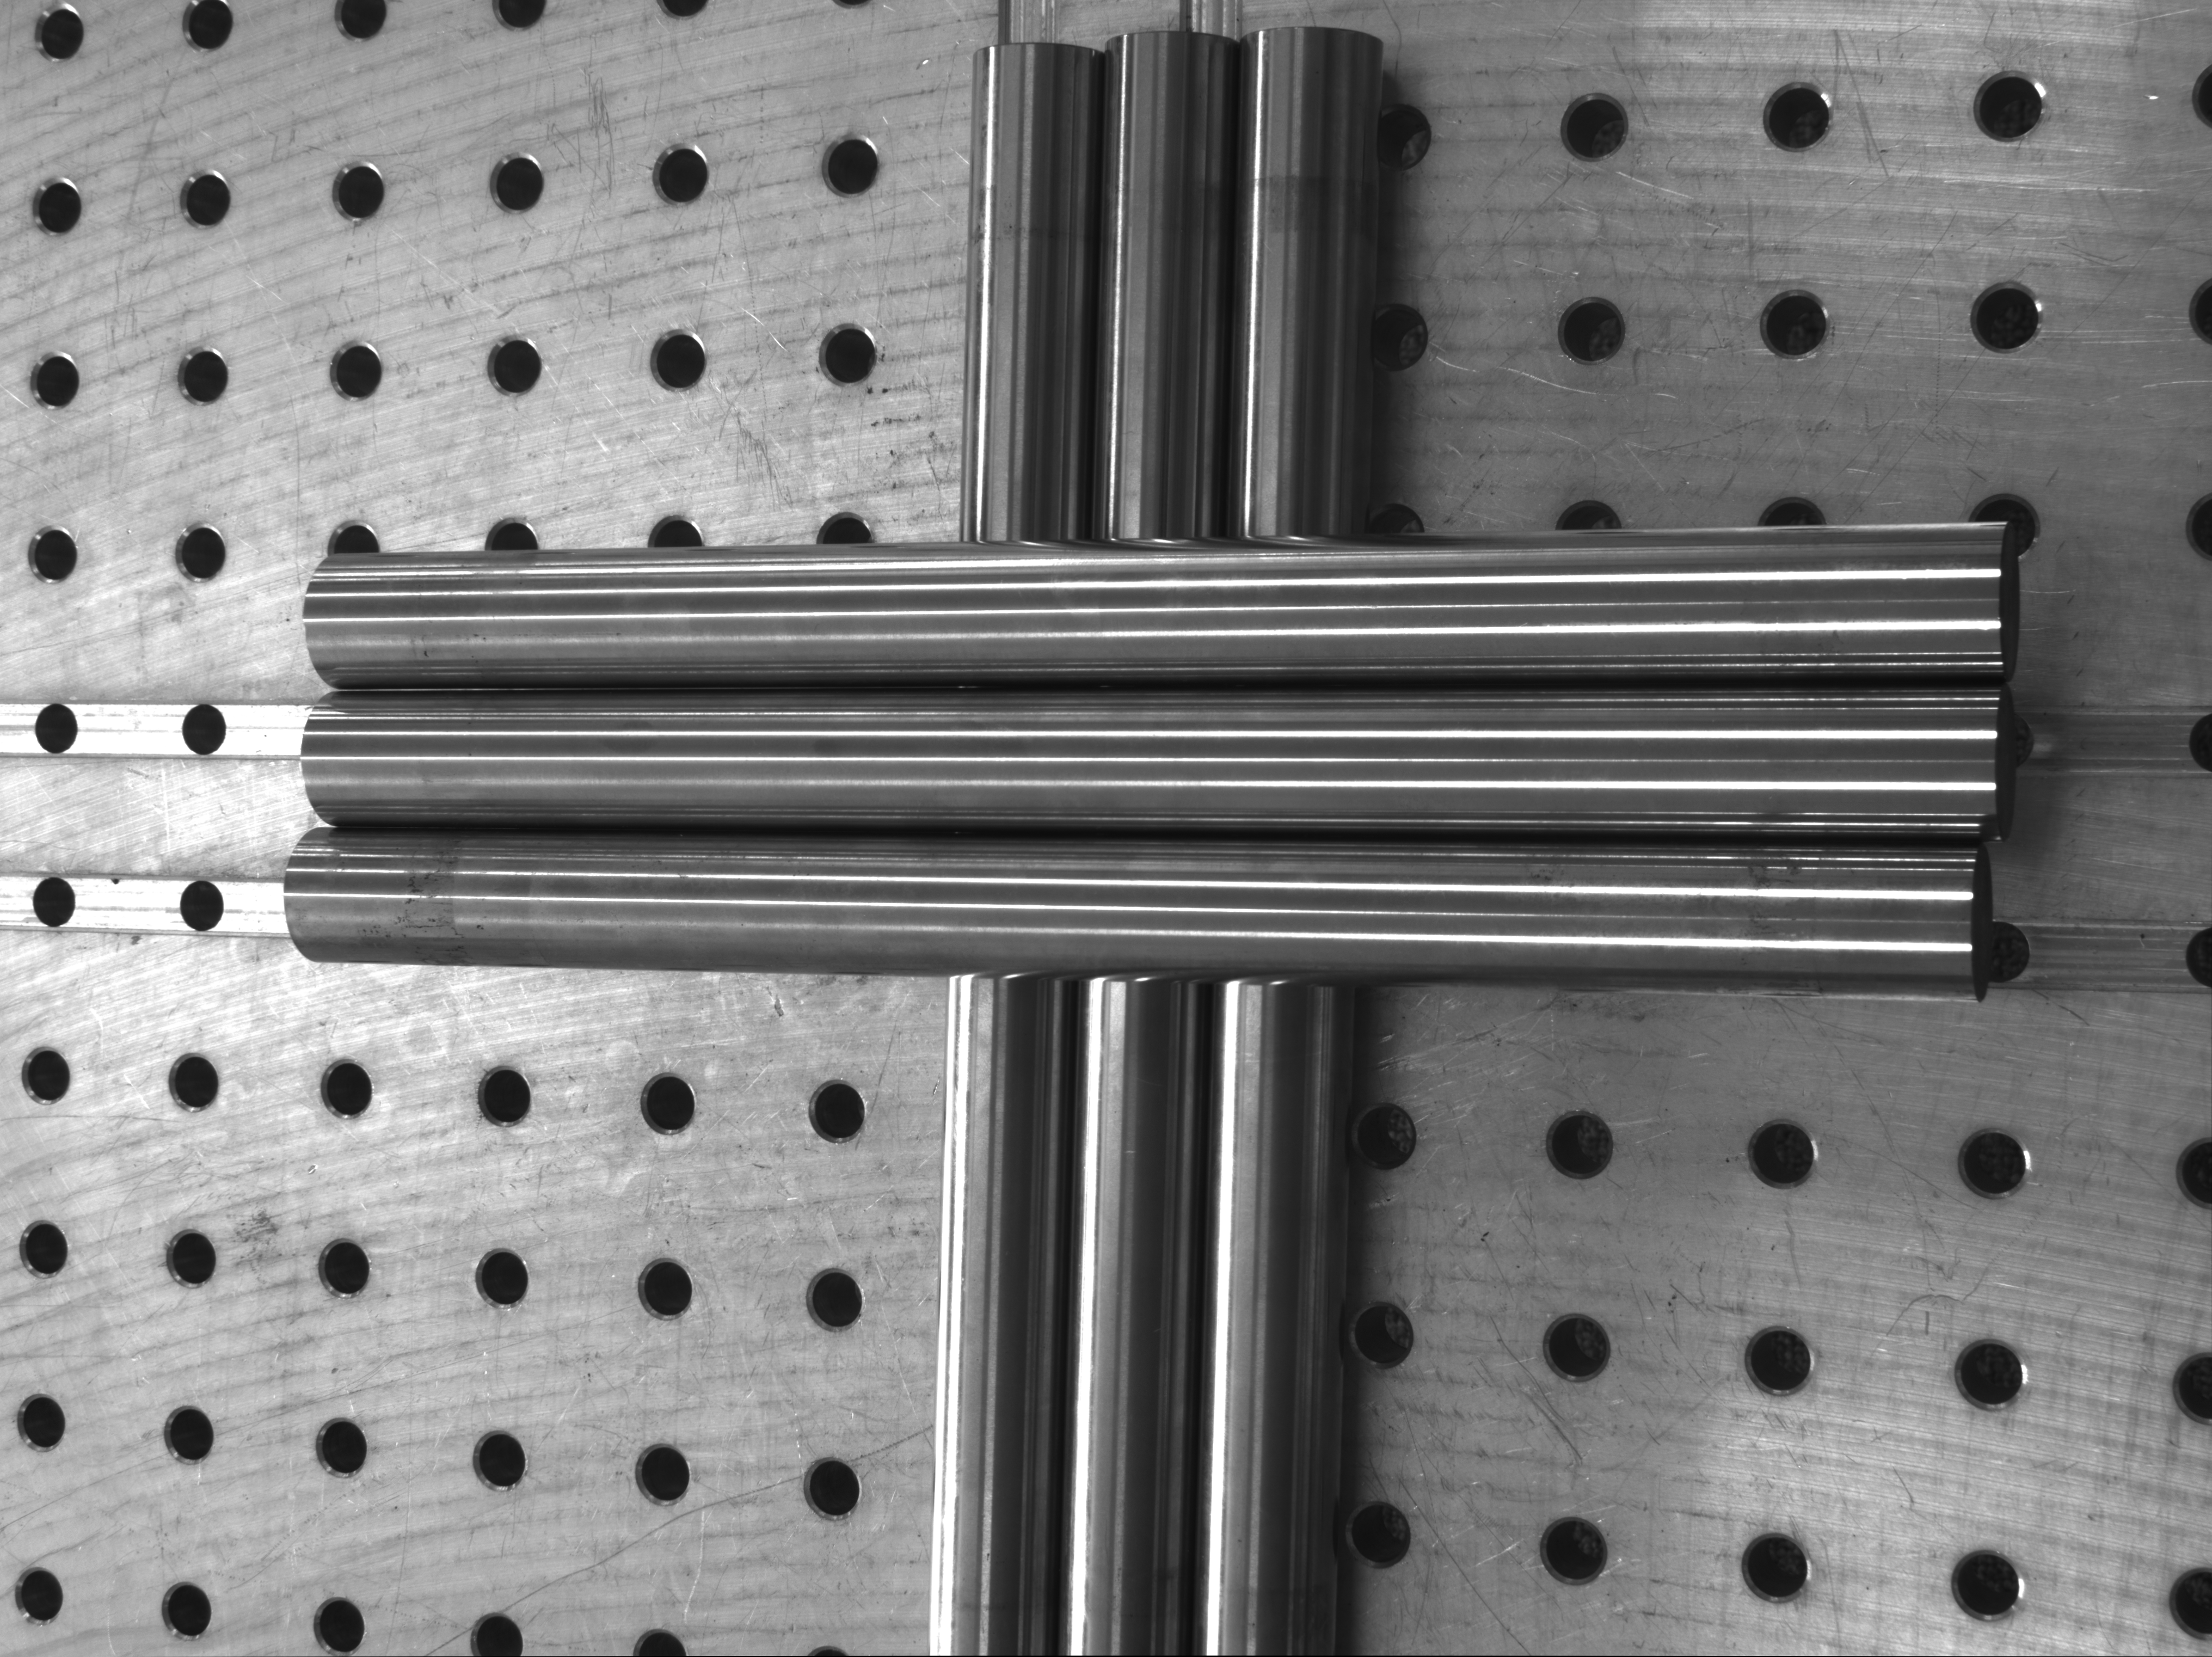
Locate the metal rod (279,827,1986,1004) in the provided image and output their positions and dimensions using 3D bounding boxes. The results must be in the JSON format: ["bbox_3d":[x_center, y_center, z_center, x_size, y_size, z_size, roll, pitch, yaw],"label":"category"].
[{"bbox_3d":[-0.005,0.014,0.624,0.299,0.025,0.025,1,90,20],"label":"metal rod"}]

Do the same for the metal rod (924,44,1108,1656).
[{"bbox_3d":[-0.016,0.013,0.655,0.025,0.025,0.300,2,91,20],"label":"metal rod"}]

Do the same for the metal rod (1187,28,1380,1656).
[{"bbox_3d":[0.031,0.014,0.638,0.025,0.025,0.300,2,91,20],"label":"metal rod"}]

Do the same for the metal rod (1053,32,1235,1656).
[{"bbox_3d":[0.007,0.013,0.647,0.025,0.025,0.300,2,91,20],"label":"metal rod"}]

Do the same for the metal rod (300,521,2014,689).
[{"bbox_3d":[0.000,-0.037,0.623,0.299,0.025,0.025,1,90,20],"label":"metal rod"}]

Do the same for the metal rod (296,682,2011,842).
[{"bbox_3d":[-0.001,-0.012,0.623,0.299,0.025,0.025,1,90,20],"label":"metal rod"}]
